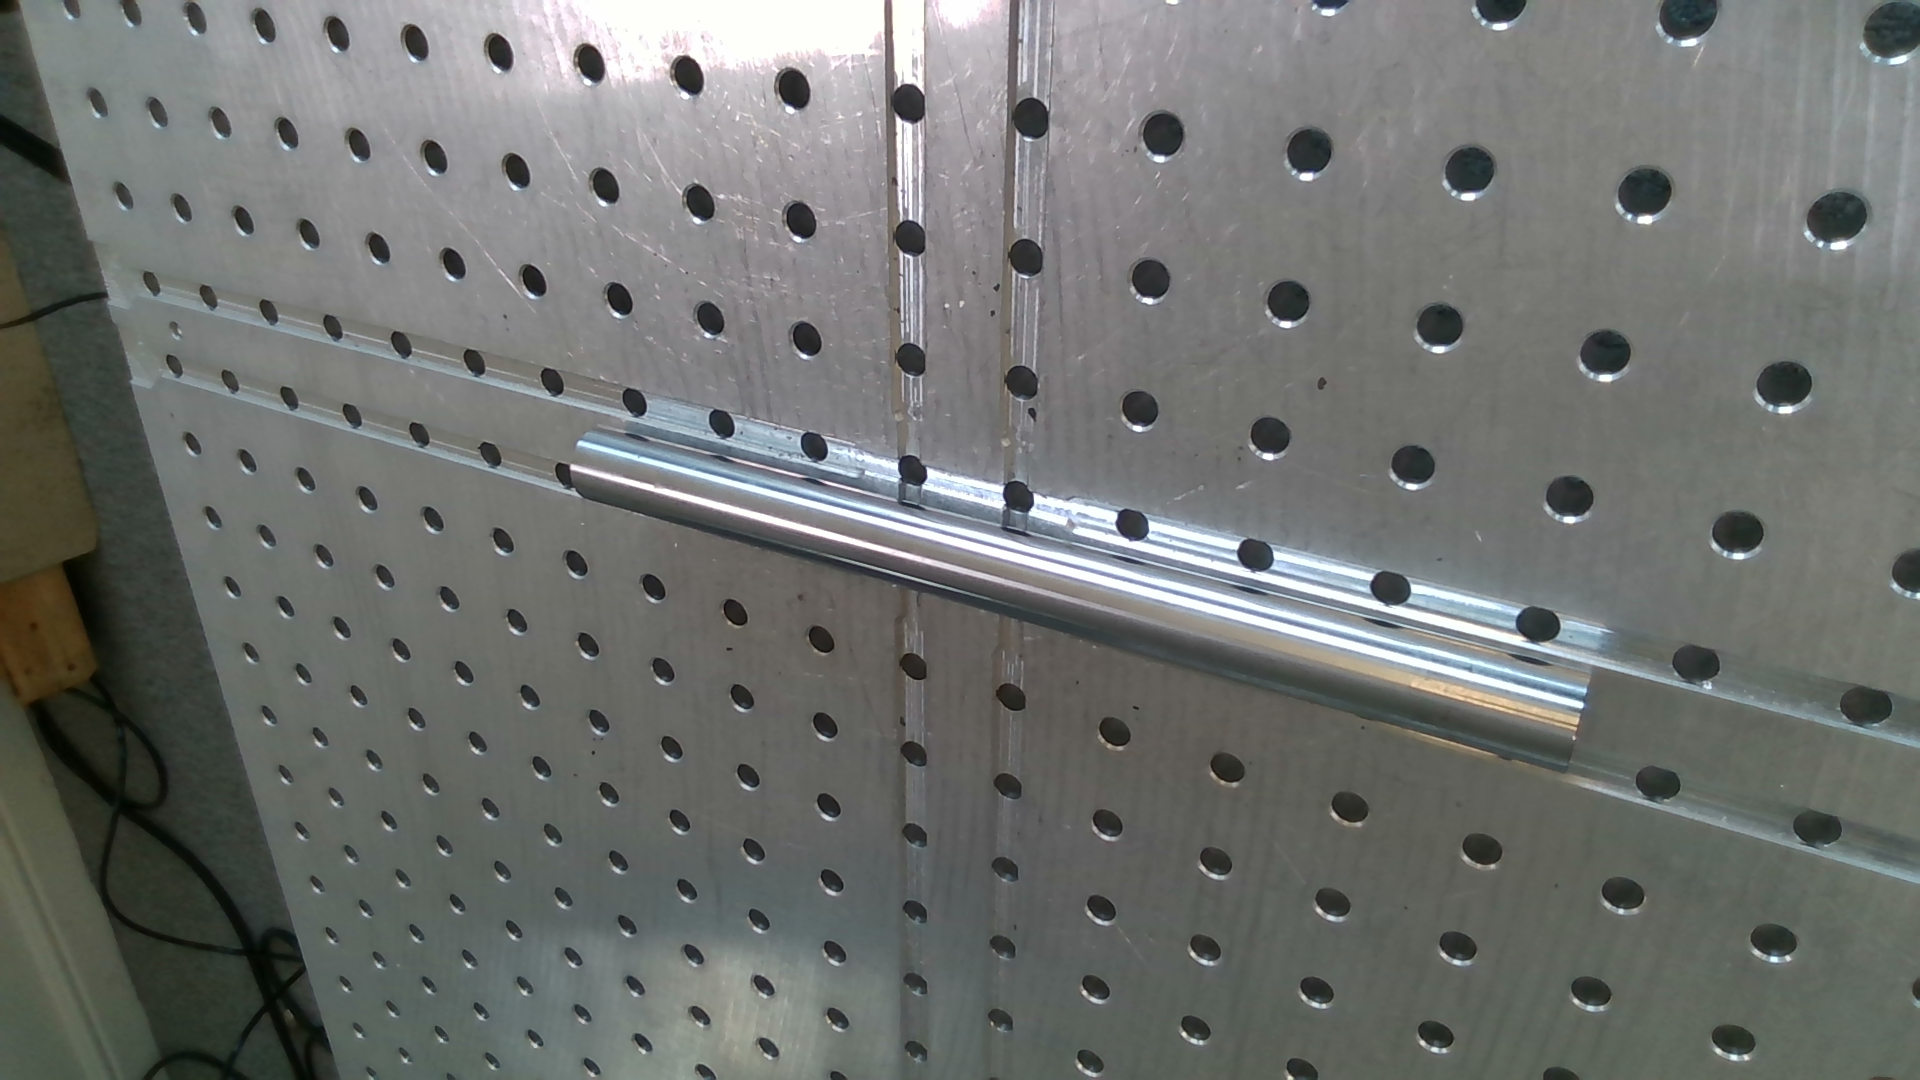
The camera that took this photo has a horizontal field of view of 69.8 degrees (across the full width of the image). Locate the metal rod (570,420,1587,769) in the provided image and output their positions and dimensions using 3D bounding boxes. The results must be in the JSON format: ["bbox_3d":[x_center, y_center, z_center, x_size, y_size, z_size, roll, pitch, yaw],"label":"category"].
[{"bbox_3d":[0.013,0.008,0.388,0.300,0.025,0.025,15,122,25],"label":"metal rod"}]
